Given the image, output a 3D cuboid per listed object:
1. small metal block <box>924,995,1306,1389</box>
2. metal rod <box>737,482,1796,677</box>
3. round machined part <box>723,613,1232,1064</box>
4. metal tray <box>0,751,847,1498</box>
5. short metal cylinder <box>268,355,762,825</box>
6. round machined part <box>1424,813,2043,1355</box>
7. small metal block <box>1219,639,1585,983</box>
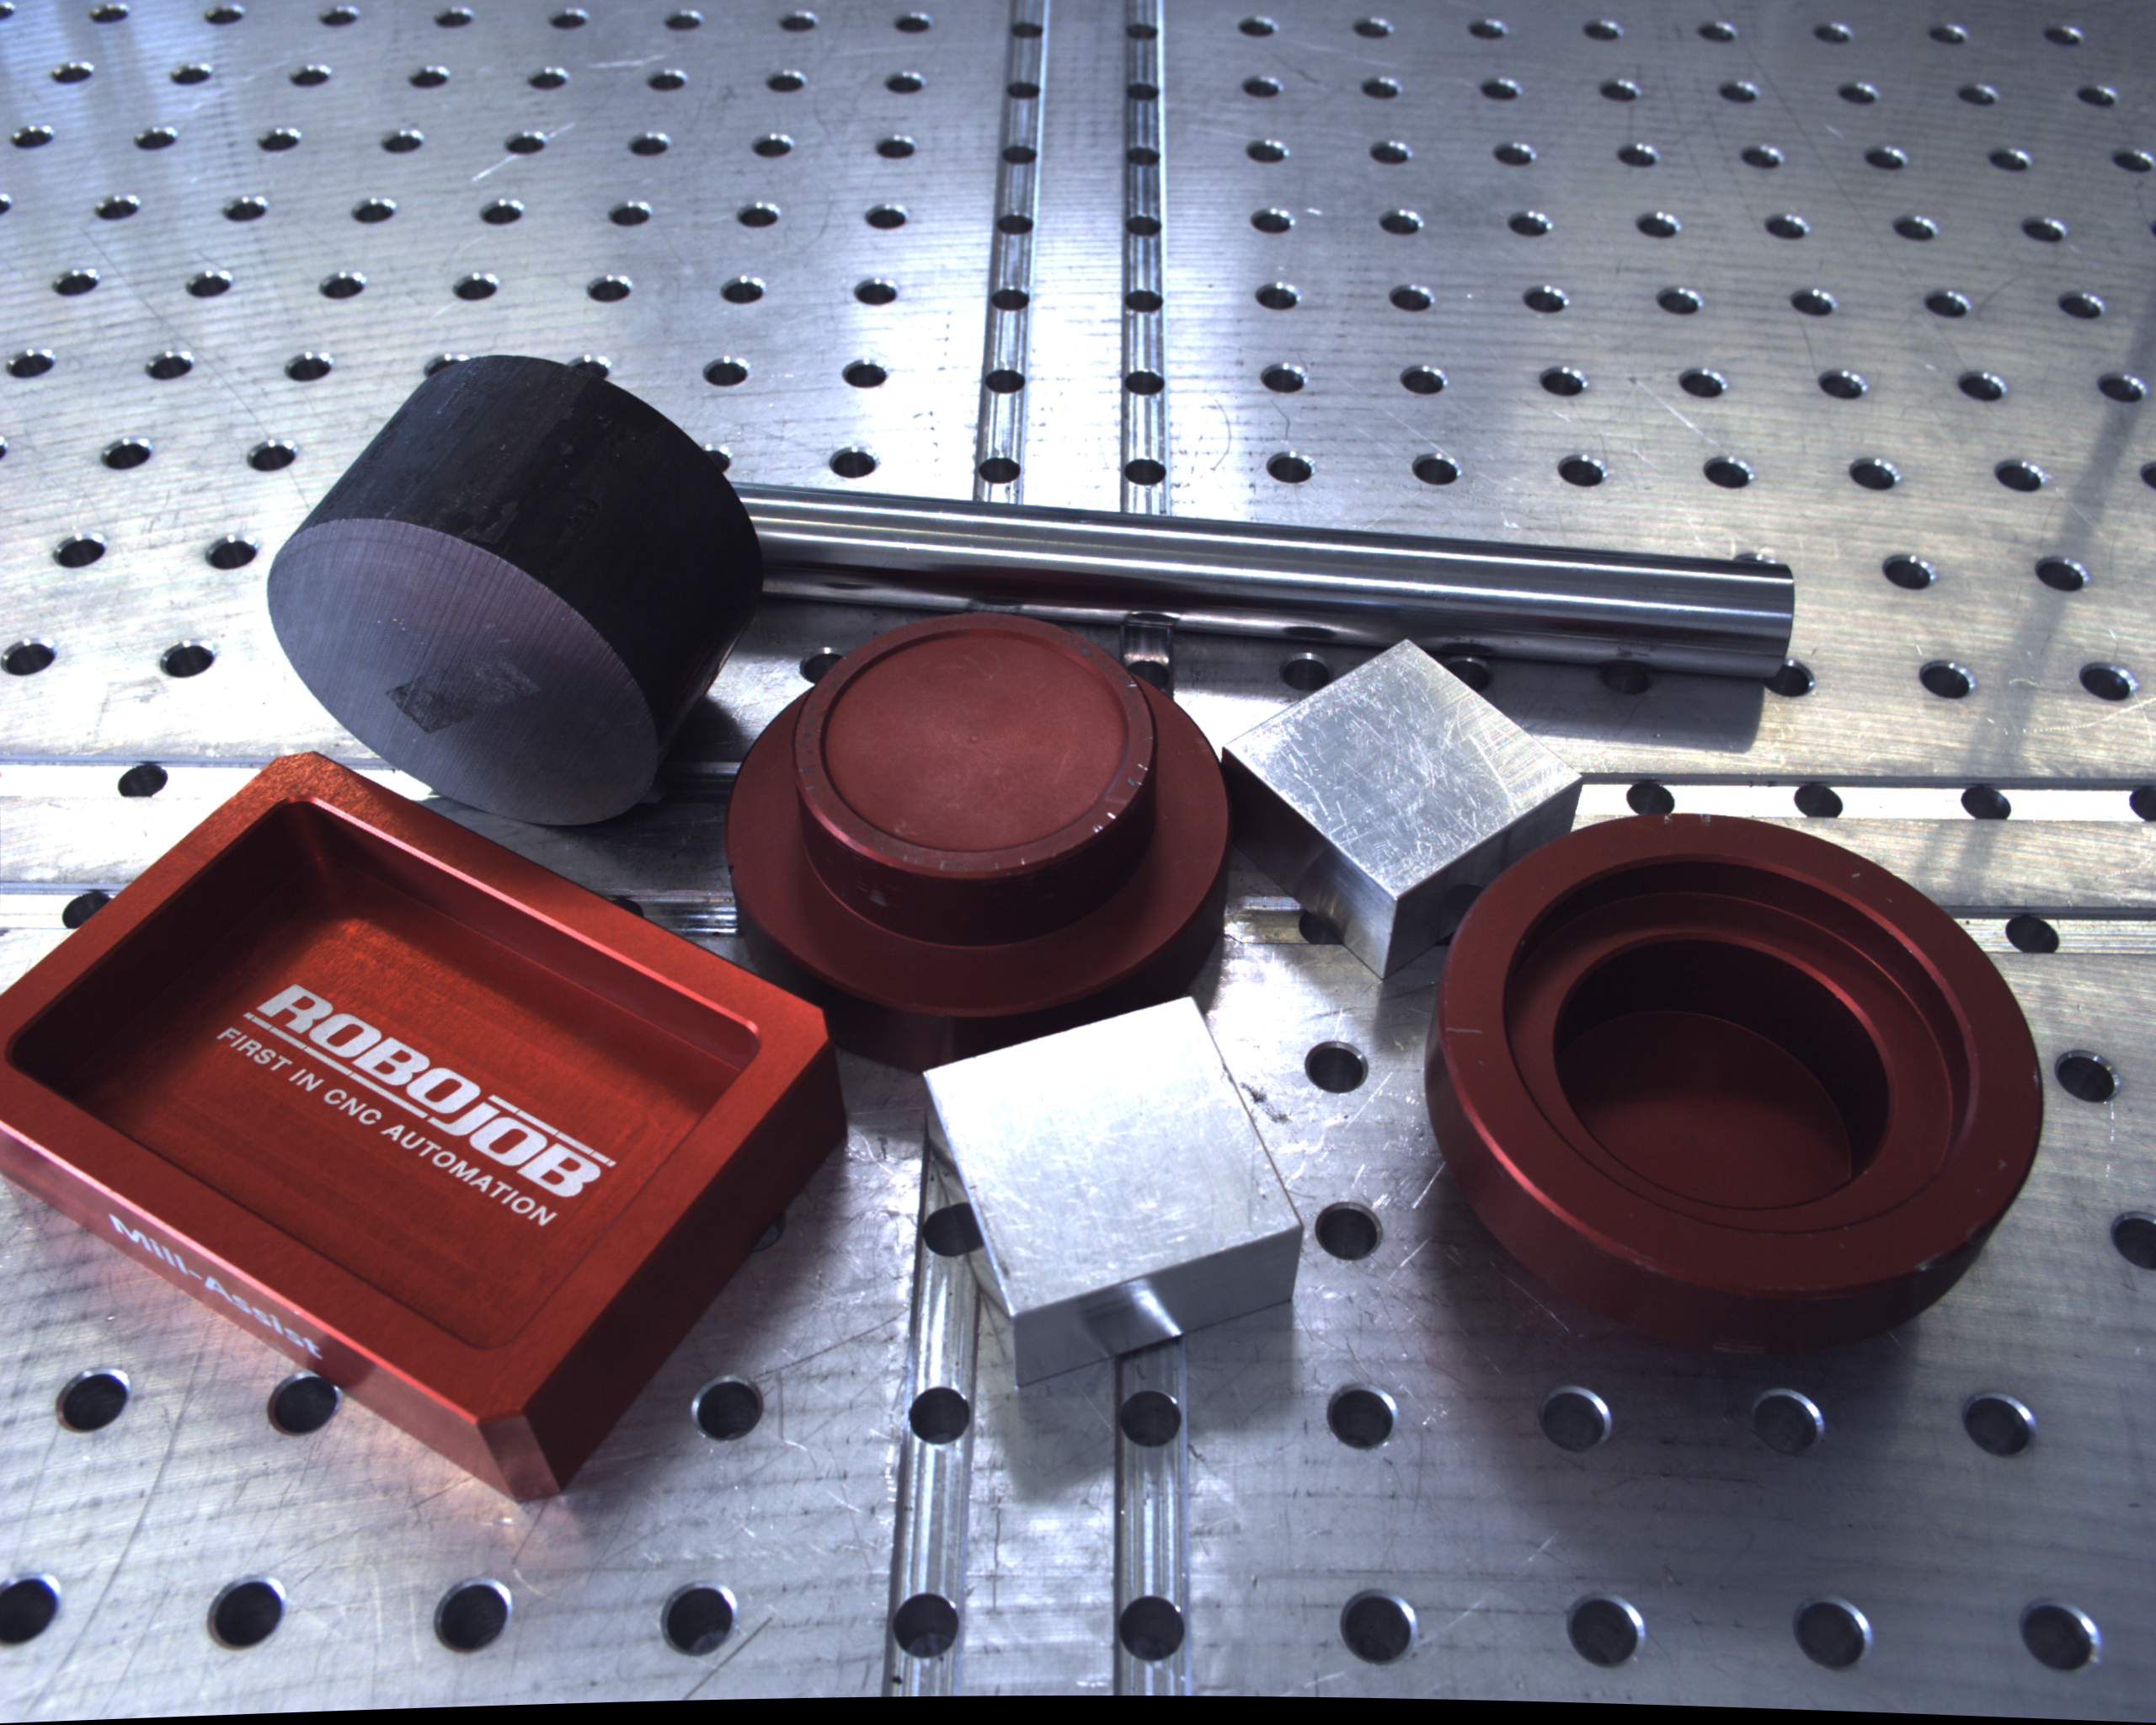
[{"bbox_3d":[0.005,0.056,0.361,0.050,0.025,0.050,-15,52,-12],"label":"small metal block"},{"bbox_3d":[0.002,-0.066,0.462,0.302,0.025,0.025,5,50,4],"label":"metal rod"},{"bbox_3d":[-0.019,-0.011,0.405,0.099,0.042,0.098,0,47,0],"label":"round machined part"},{"bbox_3d":[-0.119,0.040,0.369,0.130,0.030,0.090,24,54,19],"label":"metal tray"},{"bbox_3d":[-0.110,-0.053,0.415,0.080,0.080,0.050,14,51,11],"label":"short metal cylinder"},{"bbox_3d":[0.109,0.041,0.363,0.099,0.042,0.098,0,50,0],"label":"round machined part"},{"bbox_3d":[0.063,-0.011,0.418,0.050,0.025,0.050,-31,57,-24],"label":"small metal block"}]
